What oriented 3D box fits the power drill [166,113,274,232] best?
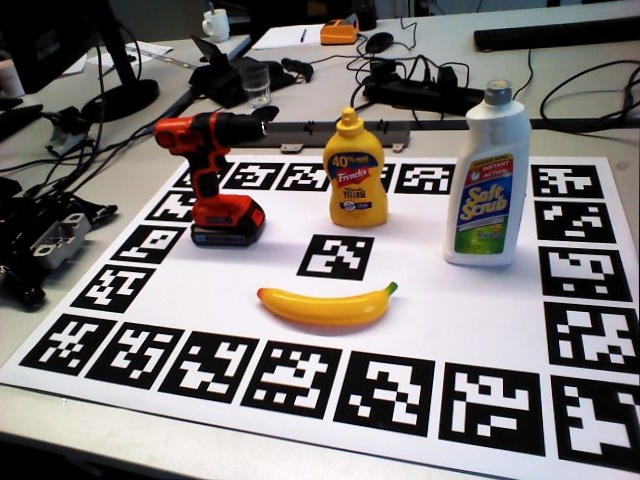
[{"bbox_3d":[-0.127,-0.104,0.801,0.185,0.187,0.057,-3,38,16],"label":"power drill"}]

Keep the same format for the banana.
[{"bbox_3d":[0.020,0.085,0.681,0.198,0.039,0.074,-2,40,16],"label":"banana"}]

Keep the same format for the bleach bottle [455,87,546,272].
[{"bbox_3d":[0.232,-0.073,0.671,0.103,0.251,0.067,9,42,24],"label":"bleach bottle"}]

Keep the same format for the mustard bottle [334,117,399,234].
[{"bbox_3d":[0.071,-0.098,0.796,0.096,0.192,0.058,-1,39,10],"label":"mustard bottle"}]
